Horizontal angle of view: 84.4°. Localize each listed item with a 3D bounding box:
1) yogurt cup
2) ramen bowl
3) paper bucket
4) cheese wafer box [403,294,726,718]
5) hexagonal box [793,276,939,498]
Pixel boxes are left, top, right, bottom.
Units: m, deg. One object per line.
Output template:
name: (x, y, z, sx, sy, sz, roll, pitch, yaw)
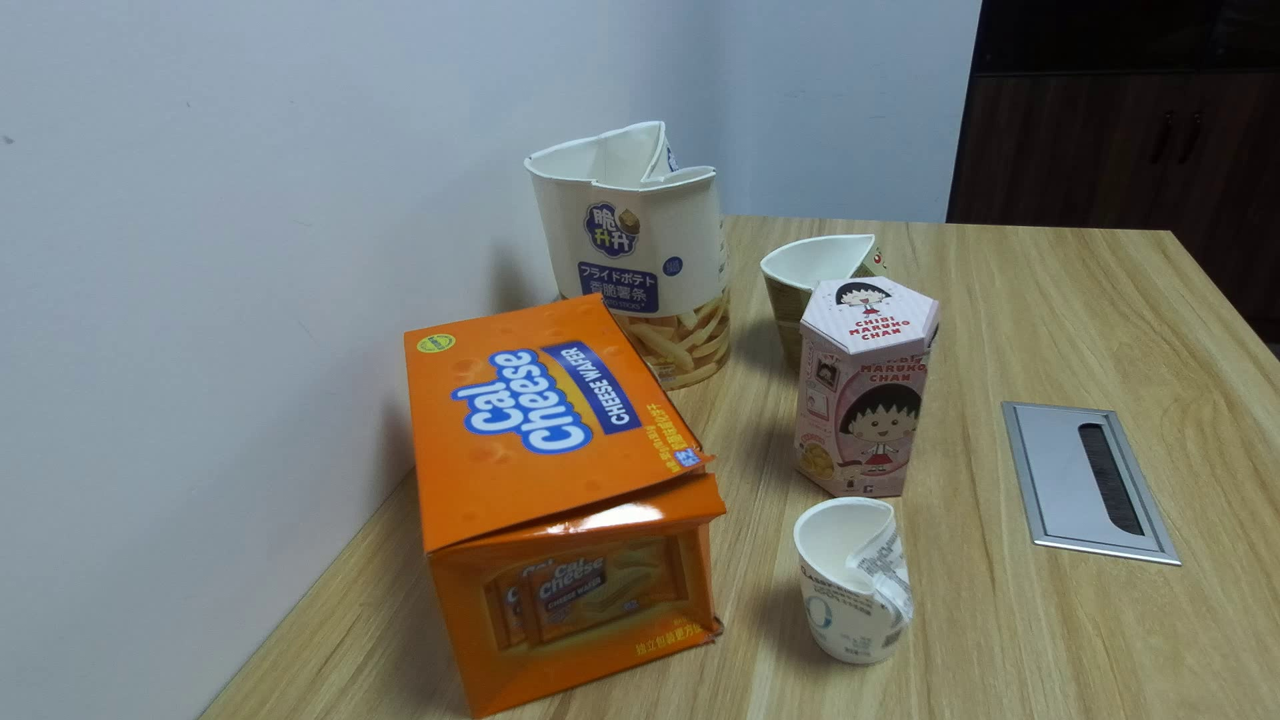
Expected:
yogurt cup: (0.117, 0.123, 0.389, 0.067, 0.070, 0.067, -4, 34, 3)
ramen bowl: (0.181, -0.048, 0.643, 0.137, 0.098, 0.137, -3, 33, 2)
paper bucket: (0.012, -0.086, 0.622, 0.169, 0.202, 0.162, -28, 40, -29)
cheese wafer box: (-0.056, 0.070, 0.442, 0.150, 0.137, 0.226, -13, 32, -14)
hexagonal box: (0.154, 0.020, 0.491, 0.092, 0.135, 0.085, -4, 32, 1)
